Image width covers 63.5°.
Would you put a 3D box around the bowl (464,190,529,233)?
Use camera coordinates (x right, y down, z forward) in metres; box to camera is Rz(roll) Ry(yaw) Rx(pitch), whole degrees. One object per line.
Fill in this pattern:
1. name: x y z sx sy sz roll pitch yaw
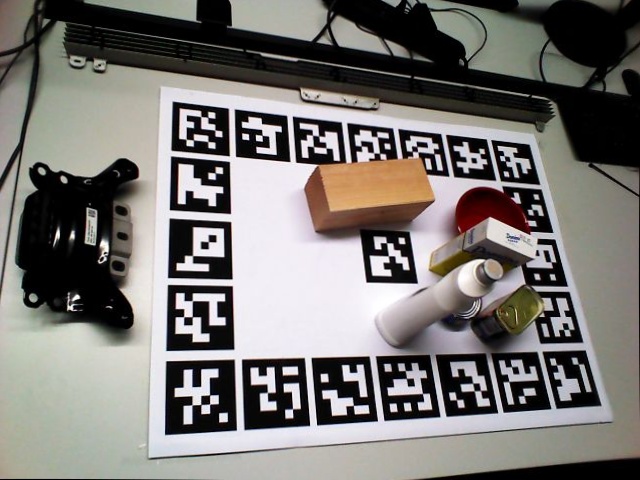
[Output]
1. bowl: 0.336 -0.019 0.983 0.161 0.055 0.161 5 66 -13

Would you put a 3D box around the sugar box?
1. sugar box: 0.286 0.029 0.873 0.093 0.177 0.045 21 64 -6

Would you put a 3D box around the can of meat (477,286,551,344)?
1. can of meat: 0.336 0.132 0.906 0.101 0.084 0.058 -28 76 -29

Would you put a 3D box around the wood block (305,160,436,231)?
1. wood block: 0.091 -0.080 0.909 0.206 0.090 0.090 -6 74 -22

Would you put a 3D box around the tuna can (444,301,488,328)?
1. tuna can: 0.247 0.111 0.906 0.085 0.034 0.085 6 69 -16

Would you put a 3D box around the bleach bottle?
1. bleach bottle: 0.186 0.088 0.775 0.102 0.252 0.068 -24 76 -26
